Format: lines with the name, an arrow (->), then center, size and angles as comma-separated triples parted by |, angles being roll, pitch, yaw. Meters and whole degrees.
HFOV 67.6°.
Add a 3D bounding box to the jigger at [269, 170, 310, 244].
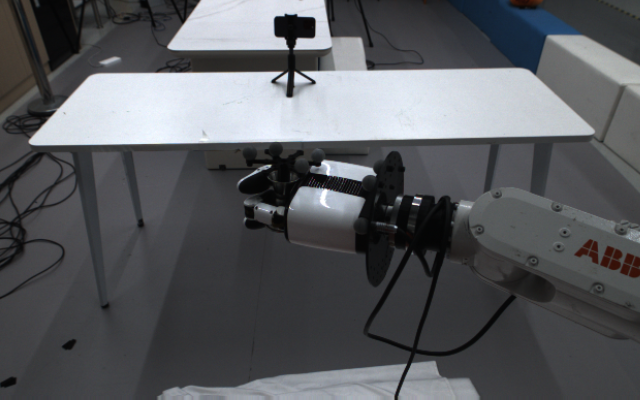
jigger -> -0.042, 0.000, 0.606 | 0.043, 0.071, 0.043 | 3, 25, -1
